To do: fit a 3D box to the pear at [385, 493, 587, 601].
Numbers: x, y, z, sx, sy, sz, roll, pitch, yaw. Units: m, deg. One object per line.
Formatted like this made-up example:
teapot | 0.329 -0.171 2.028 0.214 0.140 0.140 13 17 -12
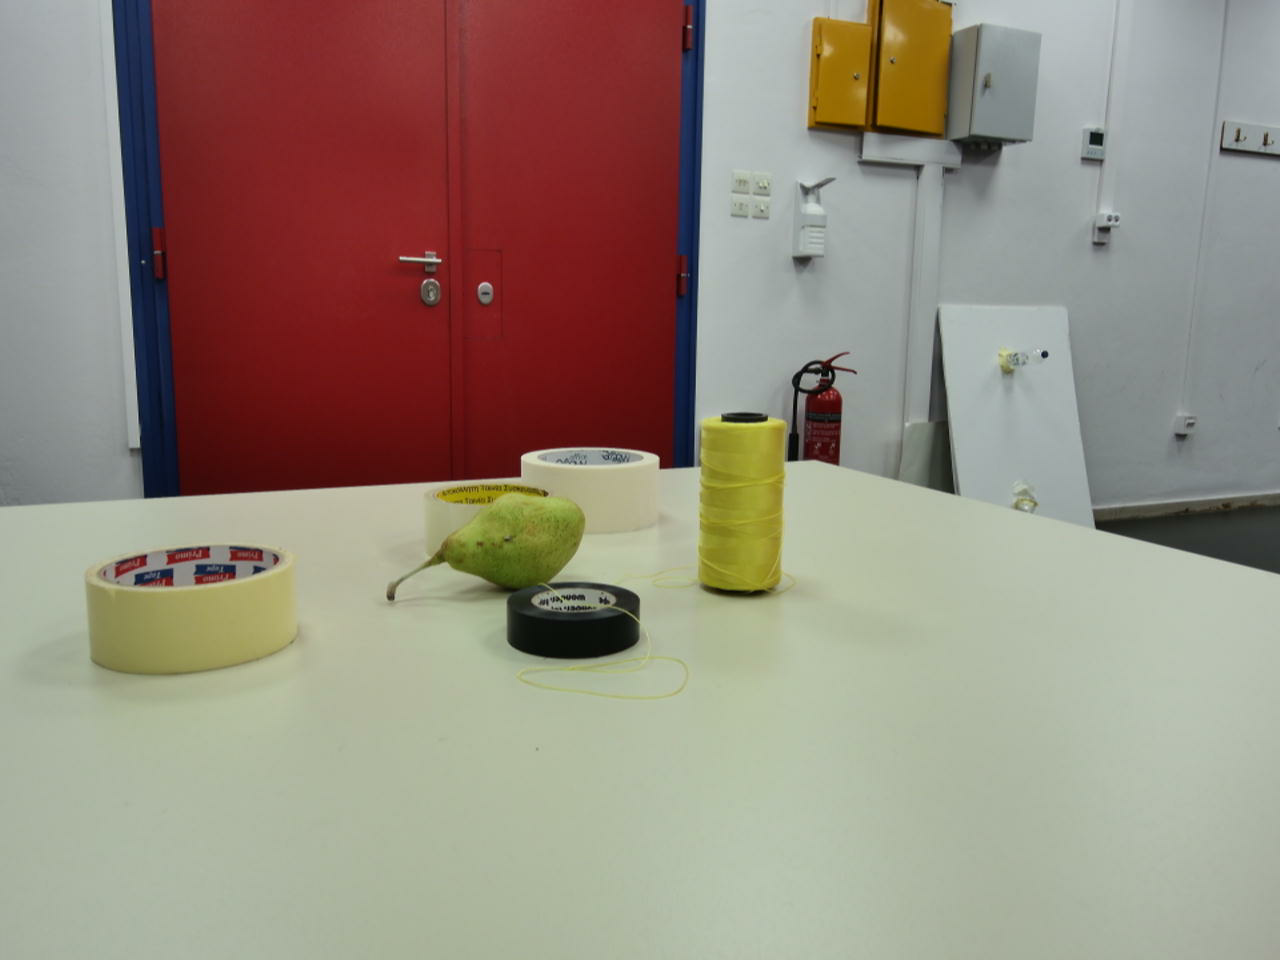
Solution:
pear | -0.087 0.036 0.576 0.111 0.056 0.056 -1 8 -9
